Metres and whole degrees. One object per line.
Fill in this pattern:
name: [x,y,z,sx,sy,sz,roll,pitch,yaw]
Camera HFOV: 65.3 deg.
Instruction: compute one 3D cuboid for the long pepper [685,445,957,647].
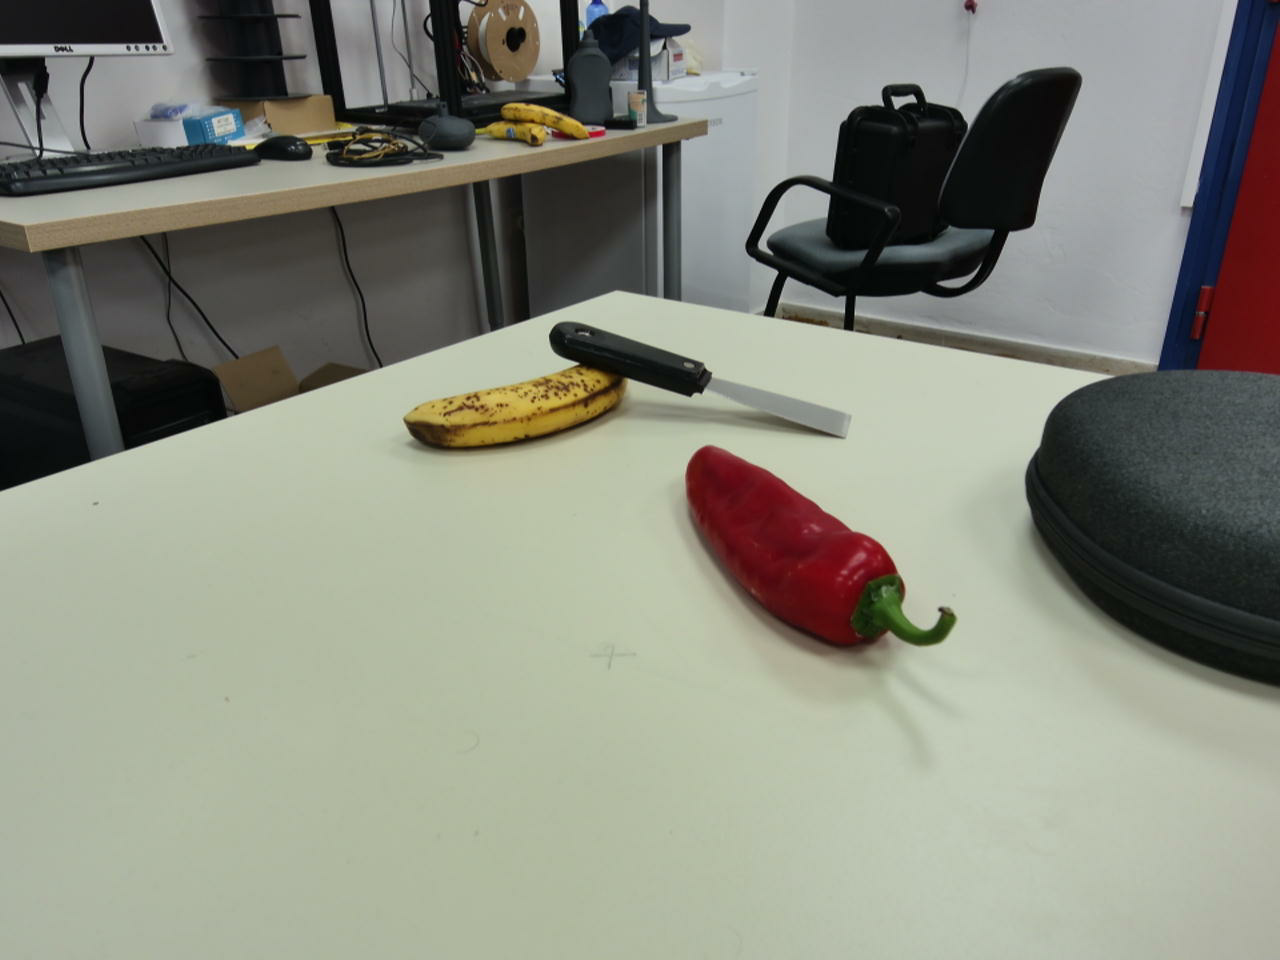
long pepper: [0.061,0.024,0.436,0.050,0.043,0.211,-8,24,-18]
